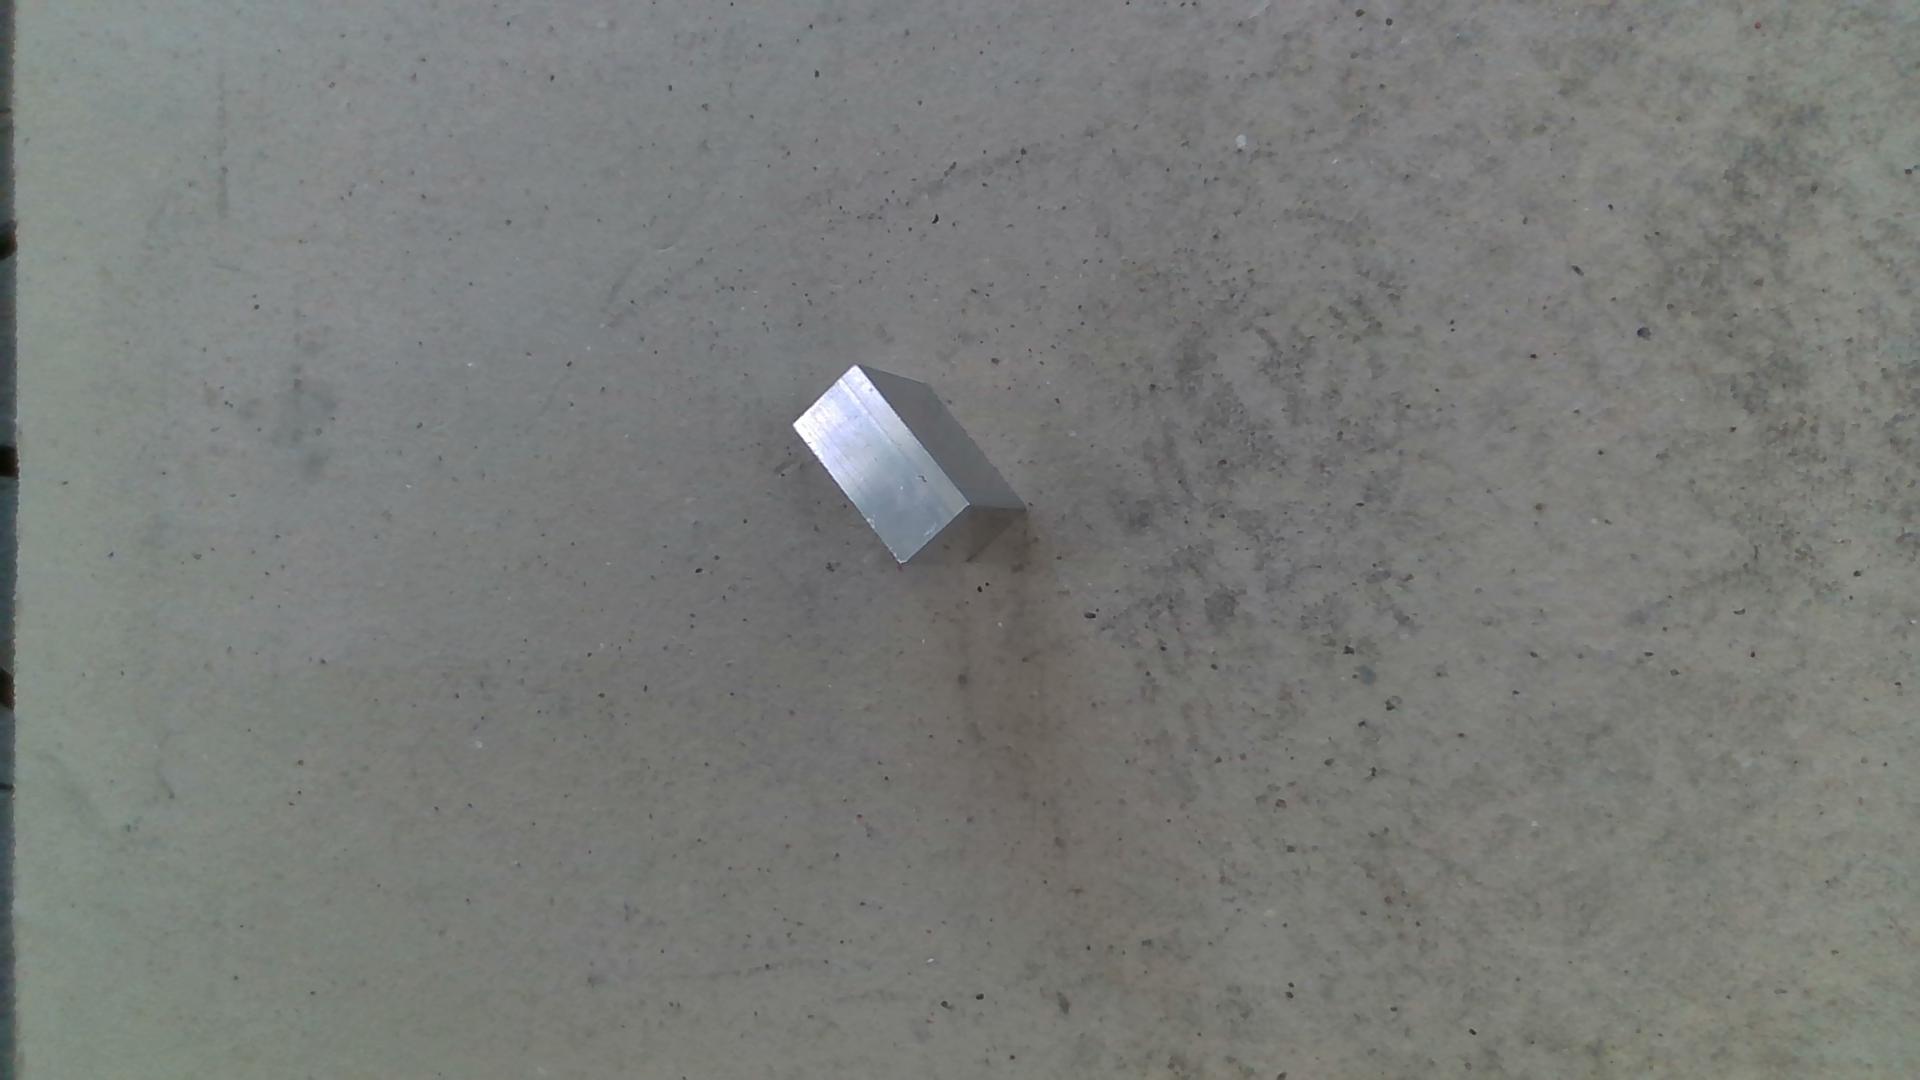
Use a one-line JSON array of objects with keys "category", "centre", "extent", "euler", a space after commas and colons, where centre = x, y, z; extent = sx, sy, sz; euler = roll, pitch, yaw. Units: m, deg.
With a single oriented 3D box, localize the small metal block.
[{"category": "small metal block", "centre": [-0.013, -0.020, 0.385], "extent": [0.025, 0.050, 0.050], "euler": [-42, 77, 15]}]
